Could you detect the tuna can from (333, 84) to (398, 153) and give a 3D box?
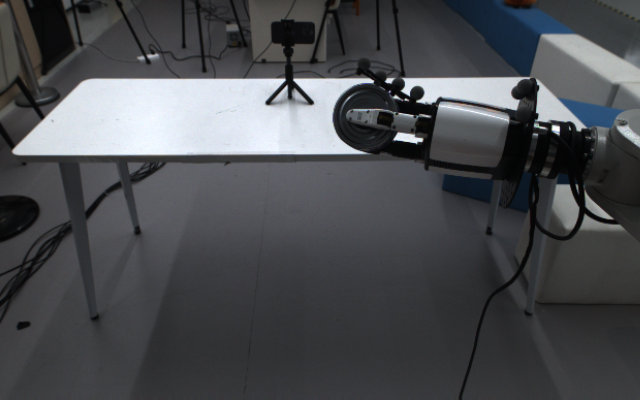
[{"bbox_3d":[0.064,-0.101,0.627,0.085,0.085,0.034,12,4,15],"label":"tuna can"}]
